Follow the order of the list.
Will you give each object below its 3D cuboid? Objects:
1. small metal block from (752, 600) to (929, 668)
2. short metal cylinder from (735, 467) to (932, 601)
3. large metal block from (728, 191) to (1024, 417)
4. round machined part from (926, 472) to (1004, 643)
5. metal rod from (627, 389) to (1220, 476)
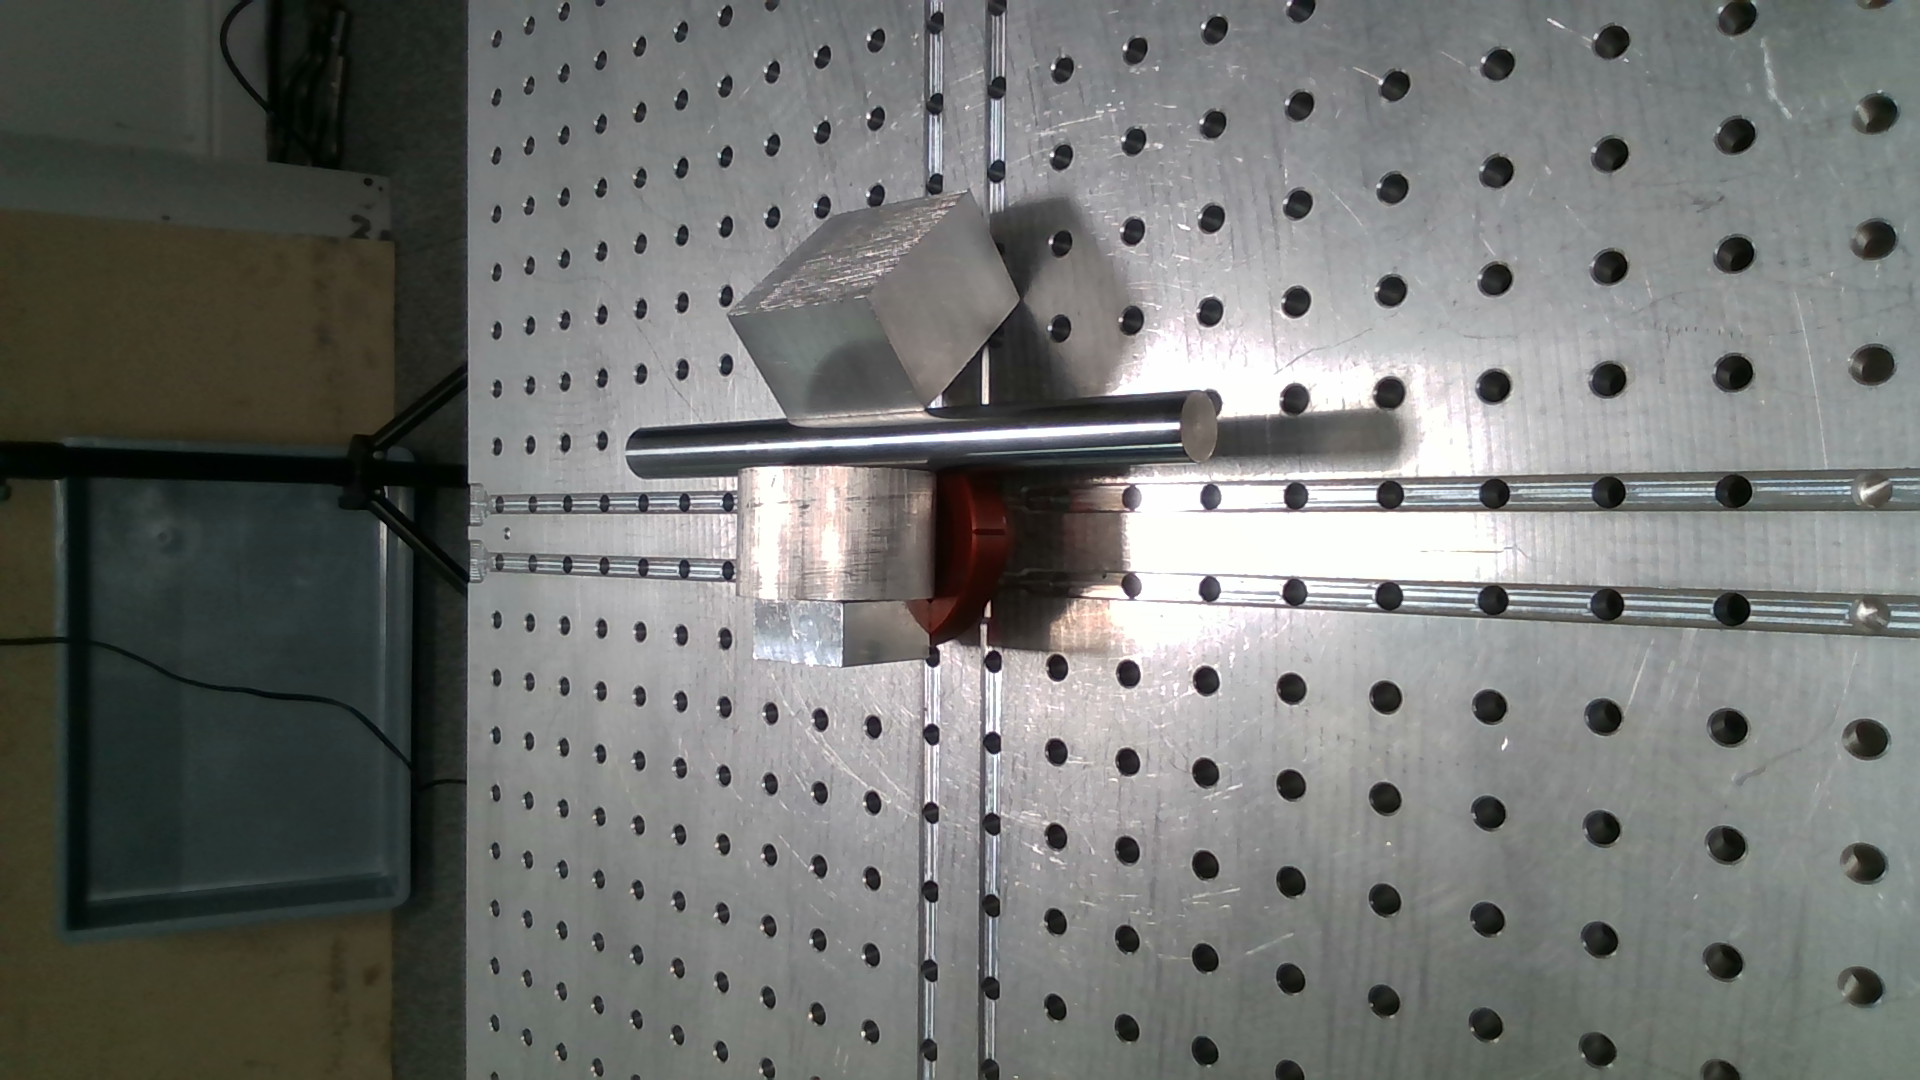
[{"bbox_3d":[-0.048,0.035,0.554,0.050,0.050,0.025,1,91,40],"label":"small metal block"},{"bbox_3d":[-0.050,-0.003,0.552,0.080,0.080,0.050,1,91,40],"label":"short metal cylinder"},{"bbox_3d":[-0.034,-0.096,0.569,0.080,0.080,0.050,1,132,40],"label":"large metal block"},{"bbox_3d":[-0.019,-0.002,0.589,0.098,0.042,0.098,0,91,40],"label":"round machined part"},{"bbox_3d":[-0.034,-0.040,0.559,0.300,0.025,0.025,1,91,40],"label":"metal rod"}]
